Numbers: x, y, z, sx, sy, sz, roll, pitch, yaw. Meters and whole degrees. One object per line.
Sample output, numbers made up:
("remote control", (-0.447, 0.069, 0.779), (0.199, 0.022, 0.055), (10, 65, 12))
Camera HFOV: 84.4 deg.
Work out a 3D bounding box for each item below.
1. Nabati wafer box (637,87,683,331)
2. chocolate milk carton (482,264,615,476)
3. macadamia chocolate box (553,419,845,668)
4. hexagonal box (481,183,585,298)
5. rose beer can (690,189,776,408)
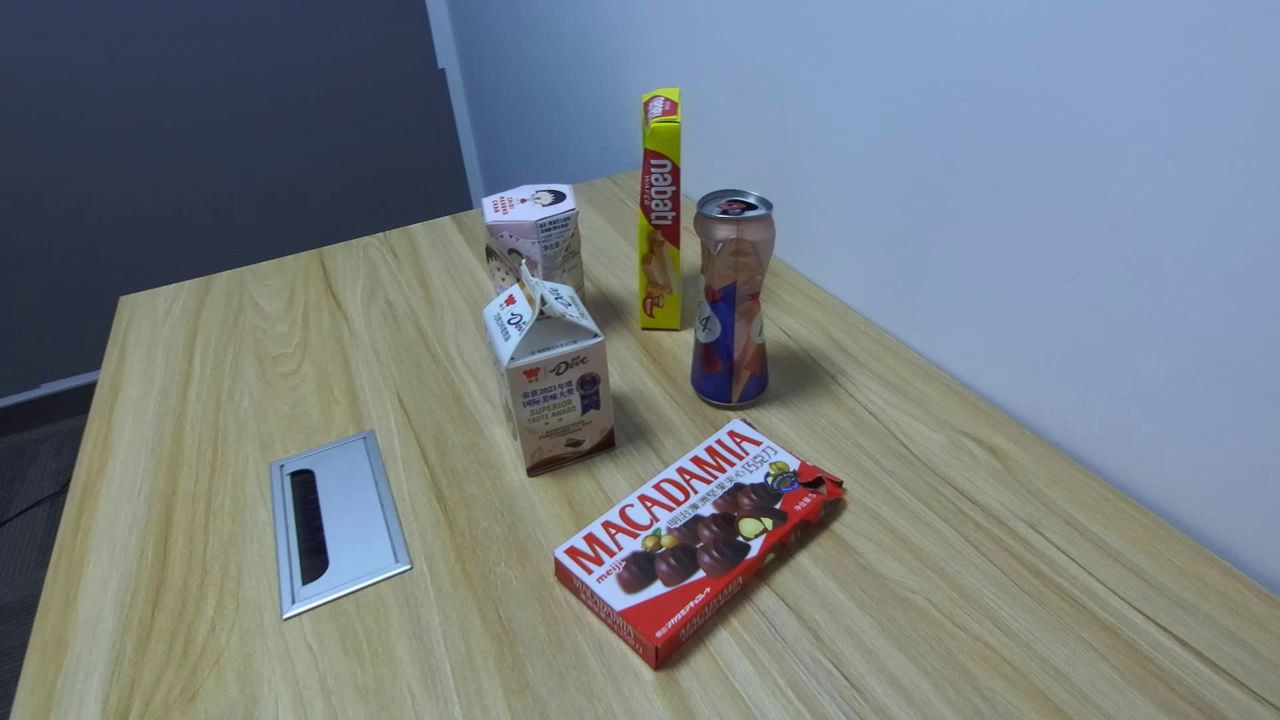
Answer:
("Nabati wafer box", (0.019, -0.132, 0.644), (0.042, 0.204, 0.096), (2, 38, 5))
("chocolate milk carton", (-0.067, 0.000, 0.516), (0.074, 0.148, 0.075), (-17, 39, -15))
("macadamia chocolate box", (0.046, 0.108, 0.462), (0.187, 0.027, 0.102), (-32, 46, -32))
("hexagonal box", (-0.093, -0.087, 0.654), (0.088, 0.135, 0.093), (24, 46, 34))
("rose beer can", (0.073, -0.043, 0.548), (0.065, 0.167, 0.076), (4, 34, 8))
